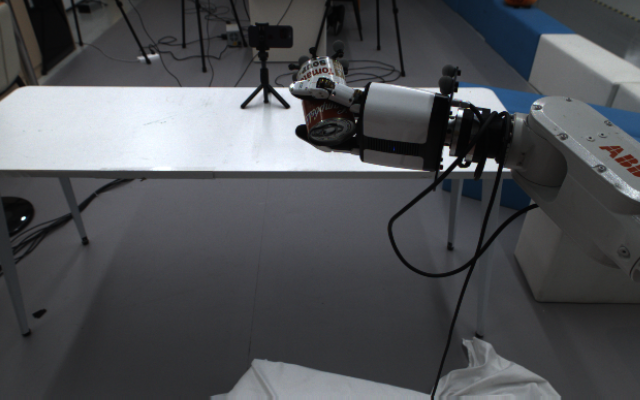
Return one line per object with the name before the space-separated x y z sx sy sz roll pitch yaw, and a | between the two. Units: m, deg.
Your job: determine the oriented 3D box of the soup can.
soup can | 0.009 -0.134 0.662 0.067 0.067 0.101 -6 67 -12
